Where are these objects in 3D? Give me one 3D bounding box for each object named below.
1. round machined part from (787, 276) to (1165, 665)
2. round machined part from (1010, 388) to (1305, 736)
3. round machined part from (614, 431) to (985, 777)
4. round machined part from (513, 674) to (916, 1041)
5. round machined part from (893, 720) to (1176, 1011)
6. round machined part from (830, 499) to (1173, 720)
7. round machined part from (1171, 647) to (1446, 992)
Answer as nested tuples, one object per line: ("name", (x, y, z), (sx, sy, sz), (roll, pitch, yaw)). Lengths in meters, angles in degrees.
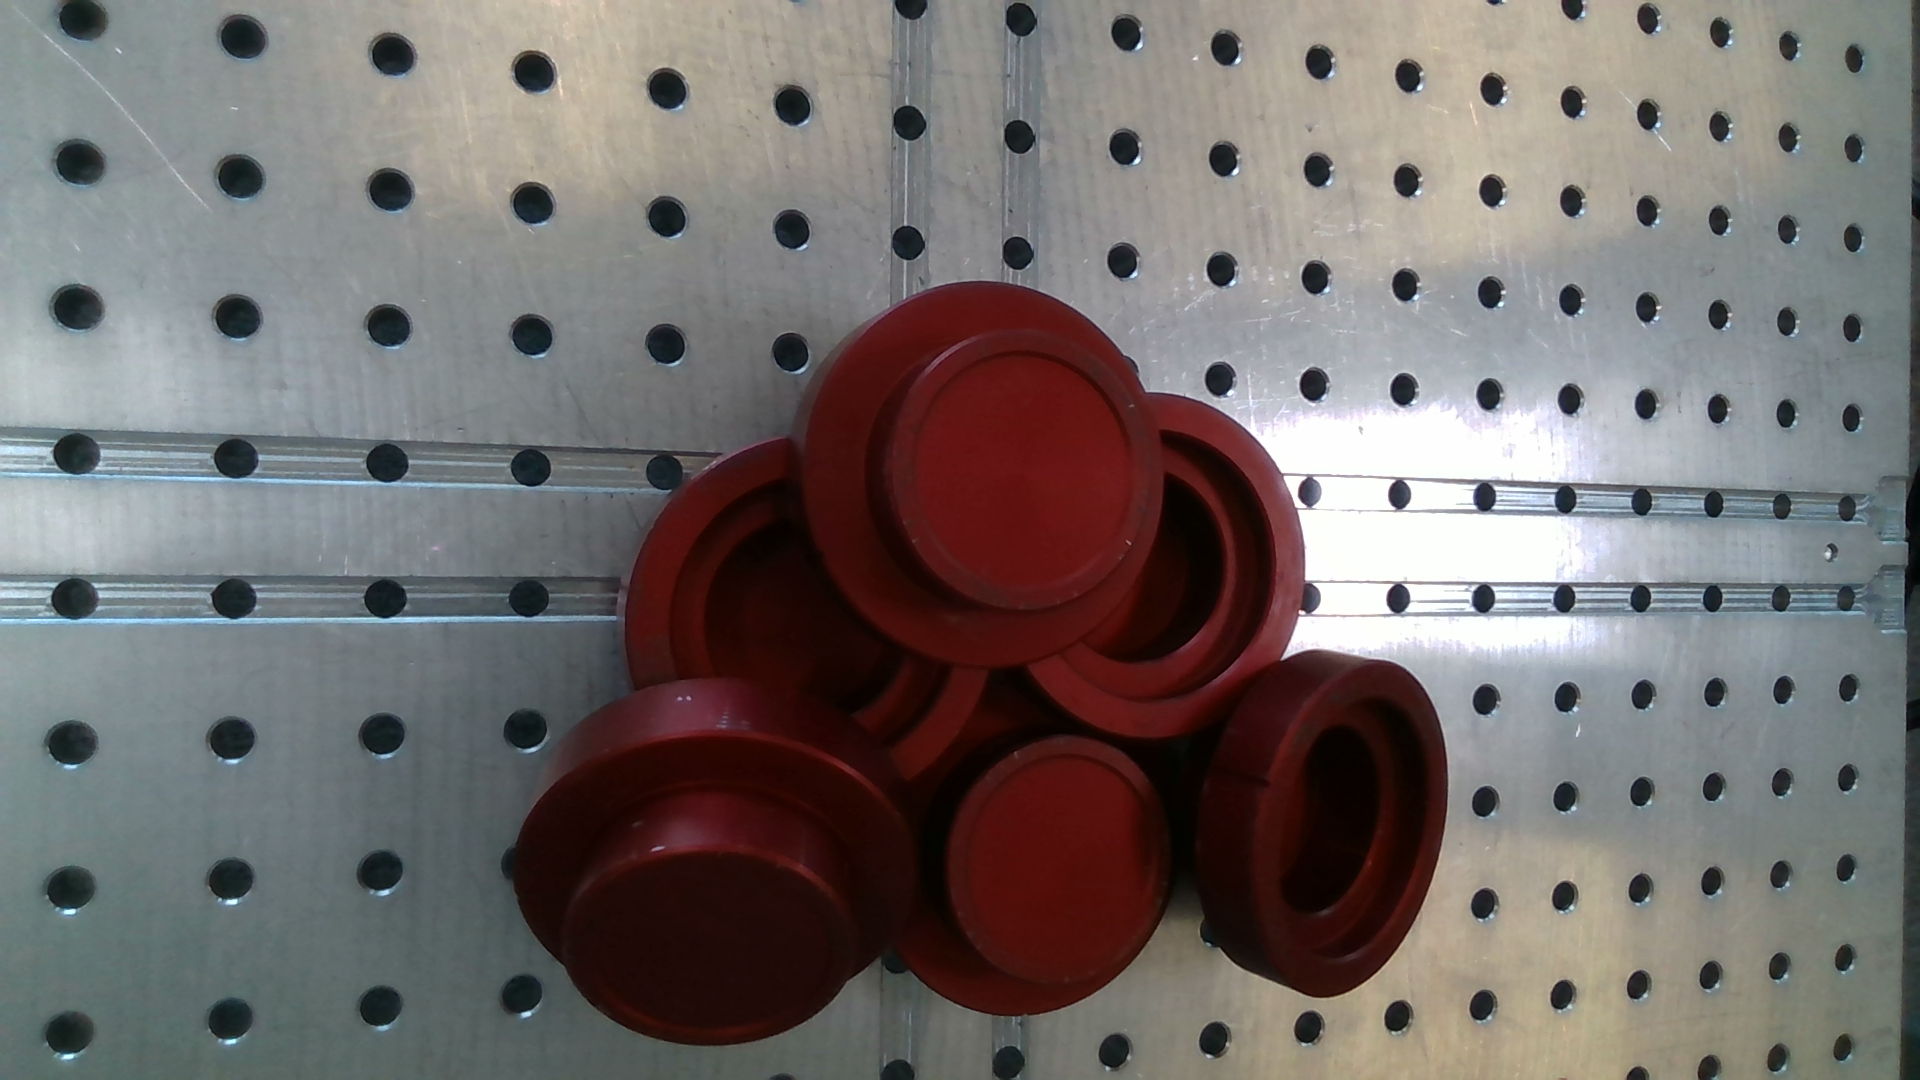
("round machined part", (0.009, -0.017, 0.345), (0.098, 0.042, 0.098), (0, 90, -20))
("round machined part", (0.048, 0.006, 0.405), (0.098, 0.042, 0.098), (0, 90, -20))
("round machined part", (-0.044, 0.021, 0.371), (0.098, 0.042, 0.098), (0, 90, -20))
("round machined part", (-0.060, 0.084, 0.339), (0.098, 0.042, 0.098), (-2, 122, -4))
("round machined part", (0.021, 0.086, 0.395), (0.098, 0.042, 0.098), (0, 90, -20))
("round machined part", (0.007, 0.000, 0.389), (0.098, 0.042, 0.098), (0, 90, -20))
("round machined part", (0.101, 0.080, 0.413), (0.098, 0.042, 0.098), (-7, 101, -40))
